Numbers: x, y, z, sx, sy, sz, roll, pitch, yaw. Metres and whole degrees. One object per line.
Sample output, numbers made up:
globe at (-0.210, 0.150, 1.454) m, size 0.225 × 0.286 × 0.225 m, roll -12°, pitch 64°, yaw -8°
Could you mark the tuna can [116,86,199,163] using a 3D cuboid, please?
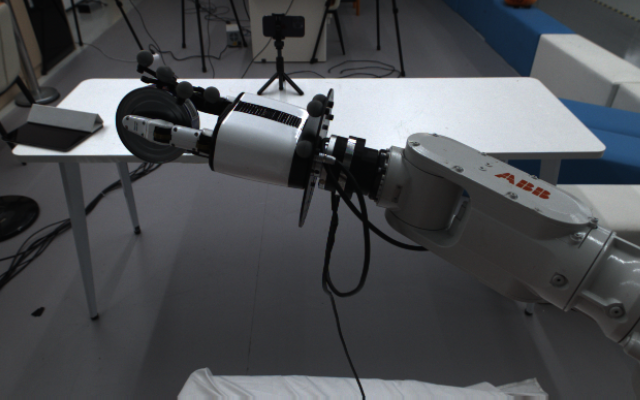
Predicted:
tuna can at (-0.181, -0.086, 0.547) m, size 0.085 × 0.085 × 0.034 m, roll 4°, pitch 20°, yaw 3°
